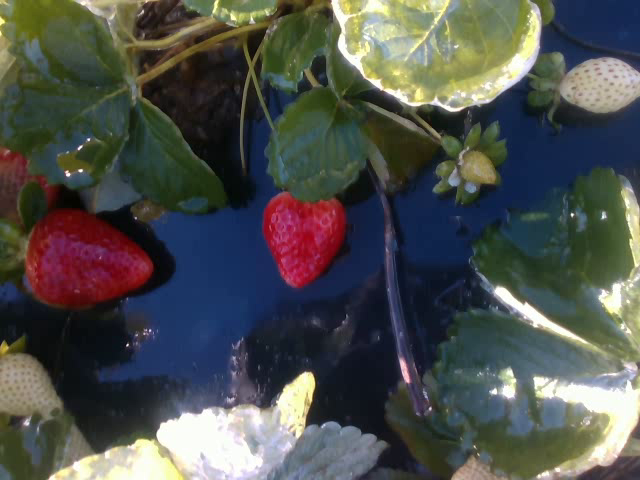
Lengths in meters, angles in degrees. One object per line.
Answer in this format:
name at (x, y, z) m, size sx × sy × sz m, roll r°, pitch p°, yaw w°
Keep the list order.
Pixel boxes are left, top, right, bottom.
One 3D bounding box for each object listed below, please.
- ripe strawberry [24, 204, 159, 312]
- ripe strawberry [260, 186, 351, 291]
ripe strawberry at (-0.098, 0.011, 0.253) m, size 0.056 × 0.044 × 0.040 m, roll 13°, pitch 11°, yaw -3°
ripe strawberry at (-0.005, 0.000, 0.237) m, size 0.039 × 0.047 × 0.040 m, roll 3°, pitch 1°, yaw -1°
